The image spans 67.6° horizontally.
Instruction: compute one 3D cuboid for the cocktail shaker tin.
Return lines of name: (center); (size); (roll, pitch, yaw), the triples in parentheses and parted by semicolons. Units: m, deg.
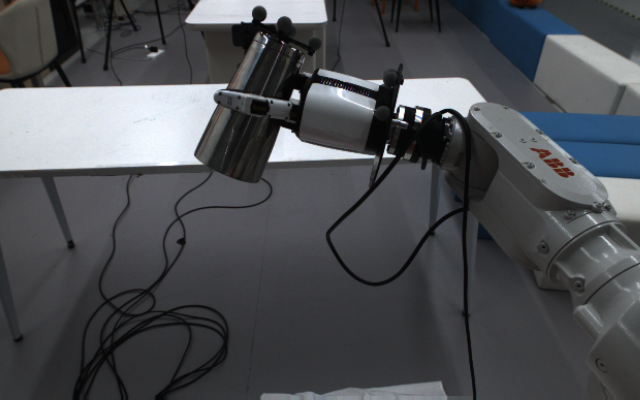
cocktail shaker tin: (-0.082, -0.120, 0.610); (0.093, 0.170, 0.093); (24, 12, -6)
